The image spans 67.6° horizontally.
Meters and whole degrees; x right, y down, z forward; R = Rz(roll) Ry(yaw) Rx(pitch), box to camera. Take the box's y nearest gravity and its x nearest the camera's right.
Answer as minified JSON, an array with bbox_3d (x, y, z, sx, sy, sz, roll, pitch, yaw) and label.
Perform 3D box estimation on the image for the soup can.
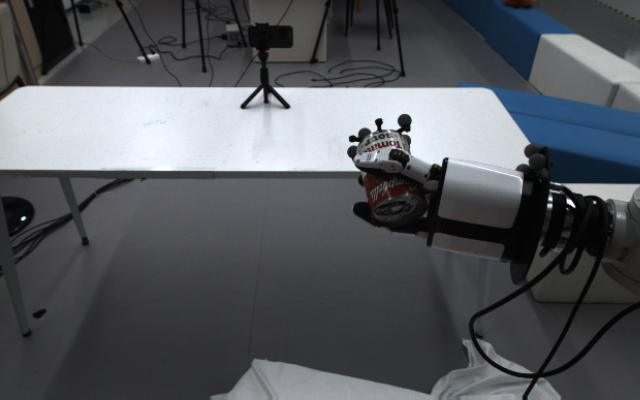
[{"bbox_3d":[0.087,-0.028,0.594,0.067,0.067,0.101,-5,57,-10],"label":"soup can"}]
